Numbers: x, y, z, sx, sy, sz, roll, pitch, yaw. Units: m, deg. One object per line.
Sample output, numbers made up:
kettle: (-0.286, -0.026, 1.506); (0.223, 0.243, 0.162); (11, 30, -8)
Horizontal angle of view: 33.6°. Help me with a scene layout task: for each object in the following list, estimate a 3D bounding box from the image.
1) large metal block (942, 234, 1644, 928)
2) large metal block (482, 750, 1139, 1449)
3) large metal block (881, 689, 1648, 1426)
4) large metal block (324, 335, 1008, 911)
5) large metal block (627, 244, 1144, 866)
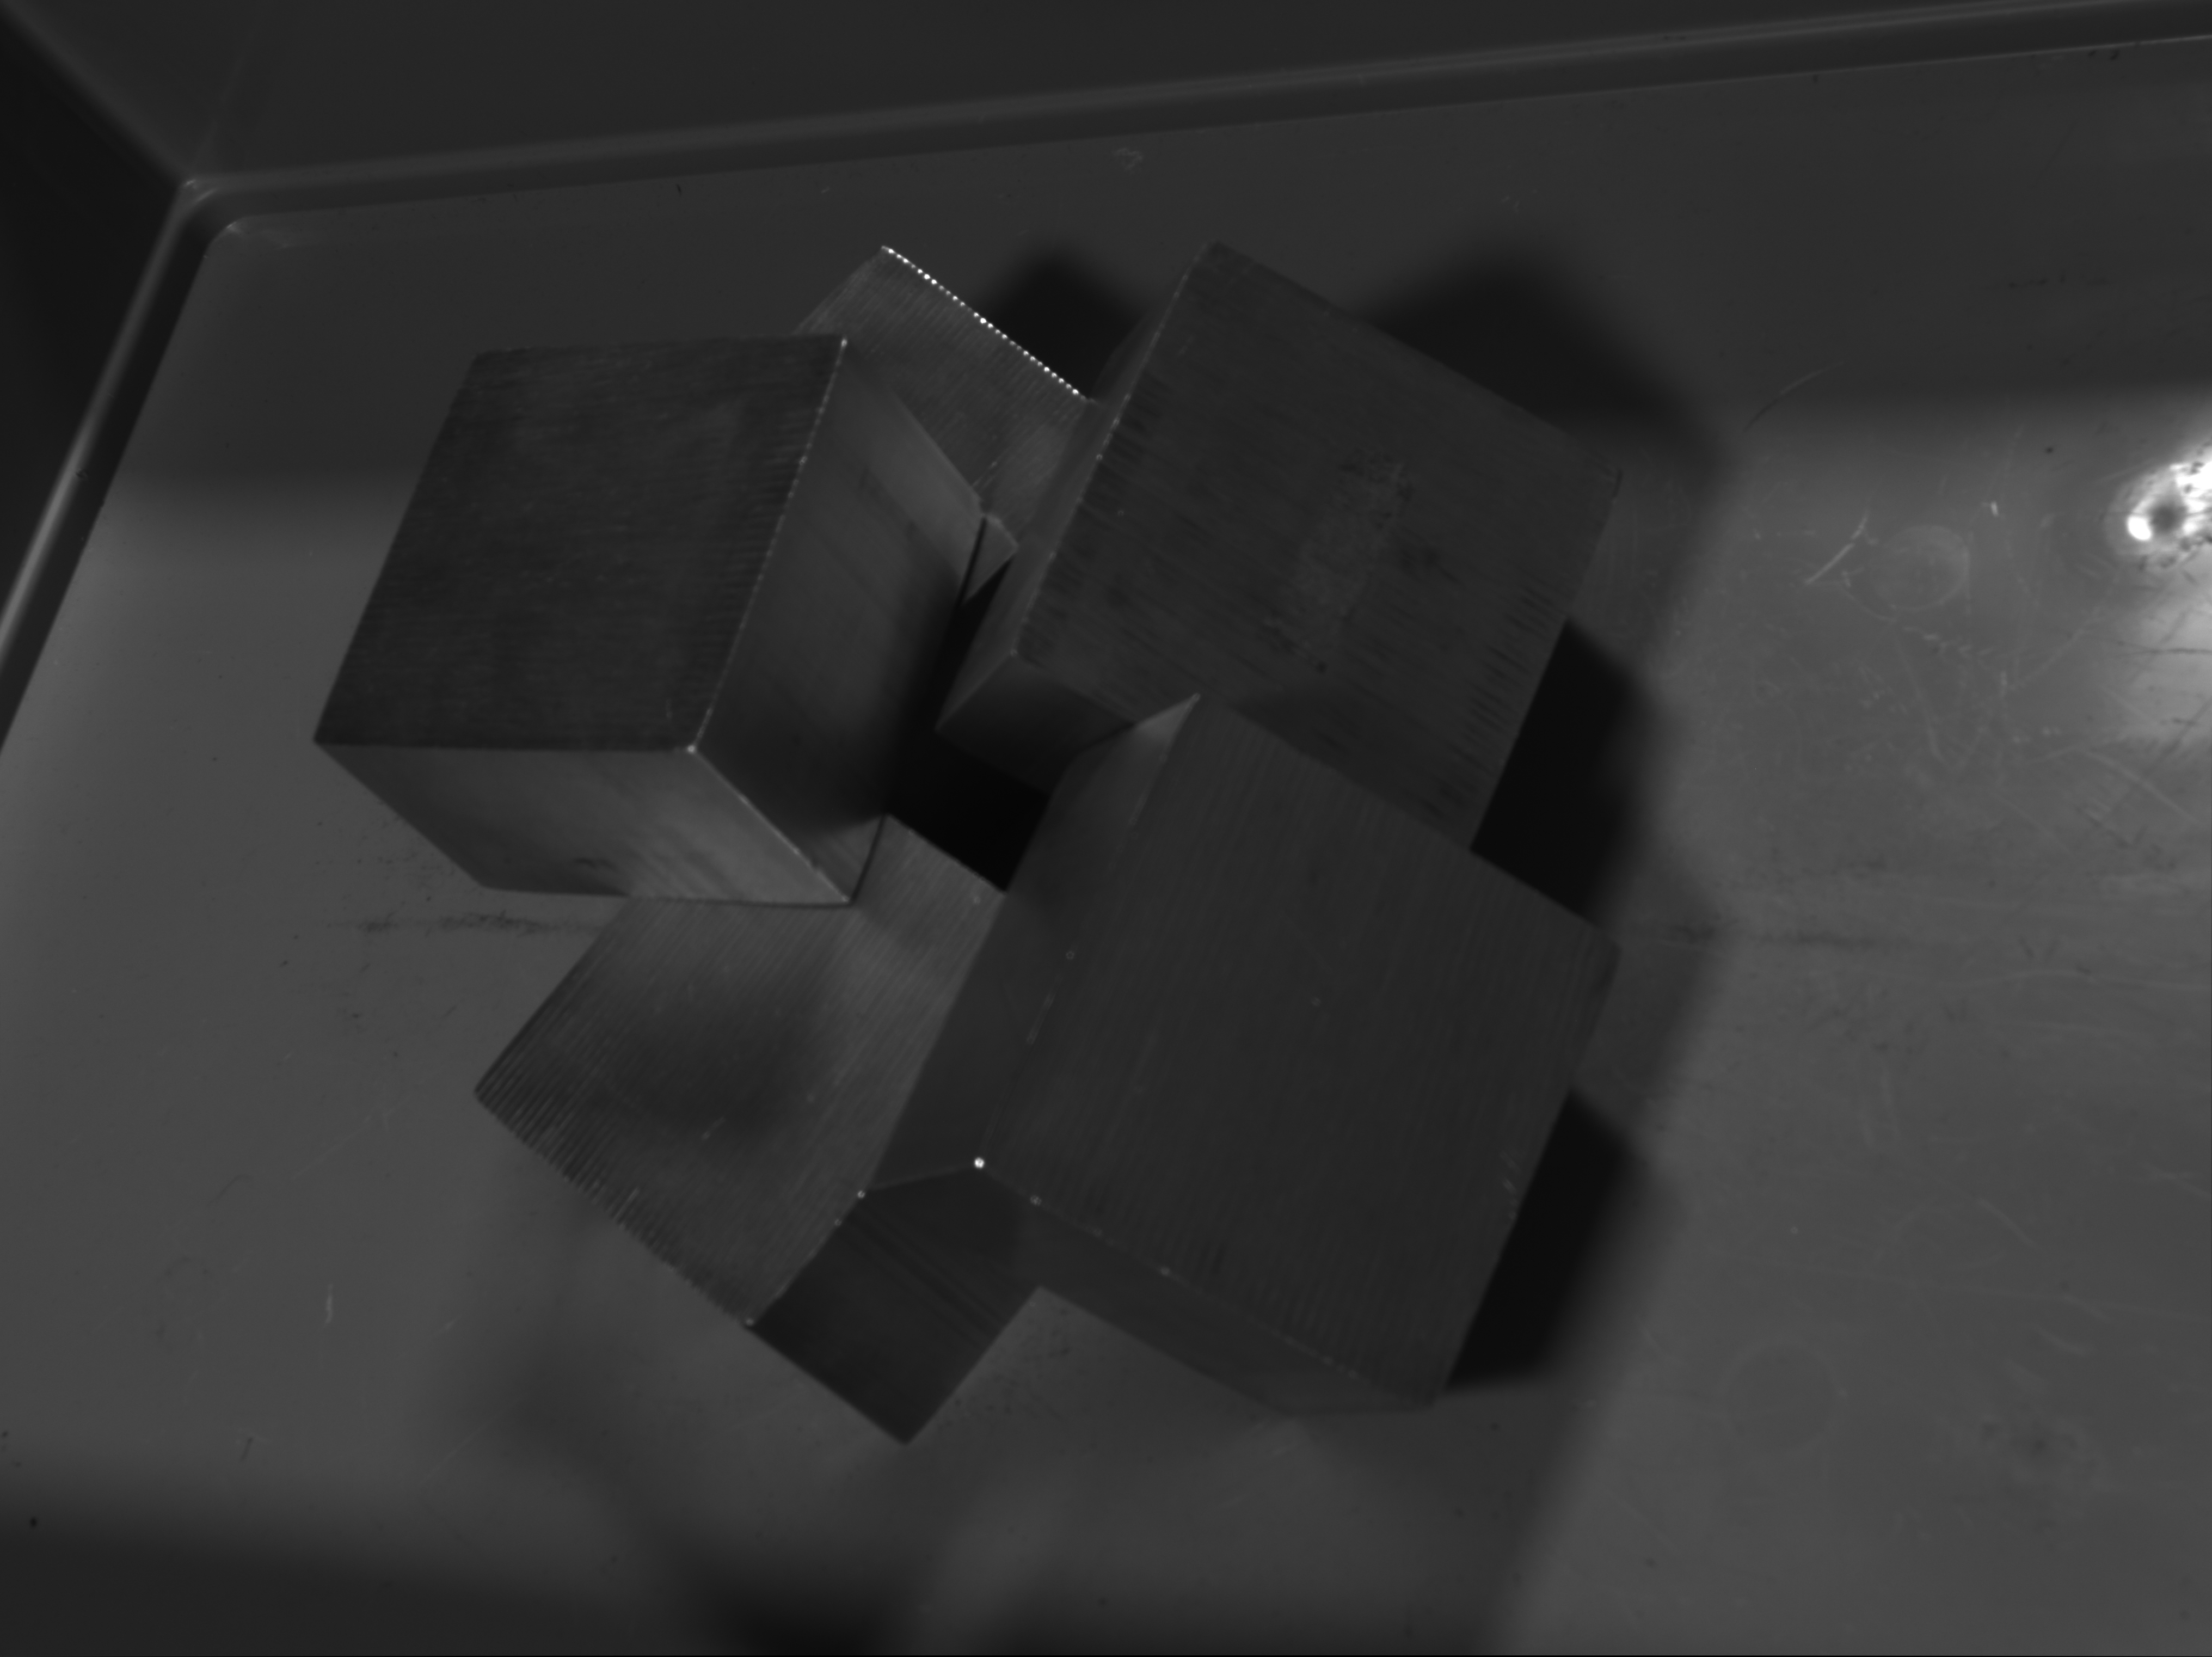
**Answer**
large metal block: (0.031, -0.037, 0.606); (0.080, 0.050, 0.080); (28, 71, -9)
large metal block: (-0.044, 0.043, 0.620); (0.080, 0.050, 0.080); (34, 81, 38)
large metal block: (0.024, 0.037, 0.562); (0.080, 0.080, 0.050); (-65, 15, -18)
large metal block: (-0.073, -0.035, 0.621); (0.080, 0.050, 0.080); (2, 61, 31)
large metal block: (-0.033, -0.048, 0.675); (0.080, 0.050, 0.080); (-45, 51, -3)
